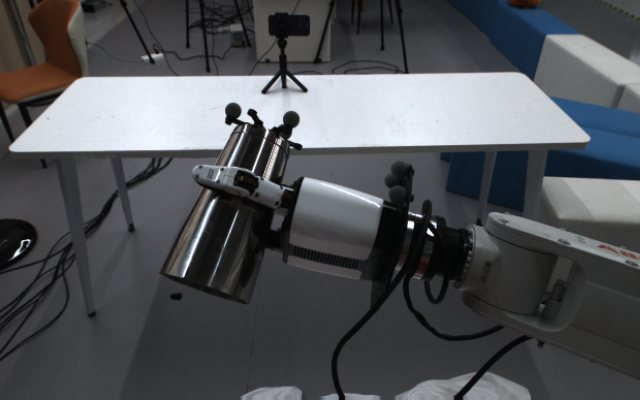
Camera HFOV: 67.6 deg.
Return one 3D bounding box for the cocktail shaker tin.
[{"bbox_3d":[-0.088,0.011,0.498,0.093,0.093,0.170,13,70,15],"label":"cocktail shaker tin"}]
